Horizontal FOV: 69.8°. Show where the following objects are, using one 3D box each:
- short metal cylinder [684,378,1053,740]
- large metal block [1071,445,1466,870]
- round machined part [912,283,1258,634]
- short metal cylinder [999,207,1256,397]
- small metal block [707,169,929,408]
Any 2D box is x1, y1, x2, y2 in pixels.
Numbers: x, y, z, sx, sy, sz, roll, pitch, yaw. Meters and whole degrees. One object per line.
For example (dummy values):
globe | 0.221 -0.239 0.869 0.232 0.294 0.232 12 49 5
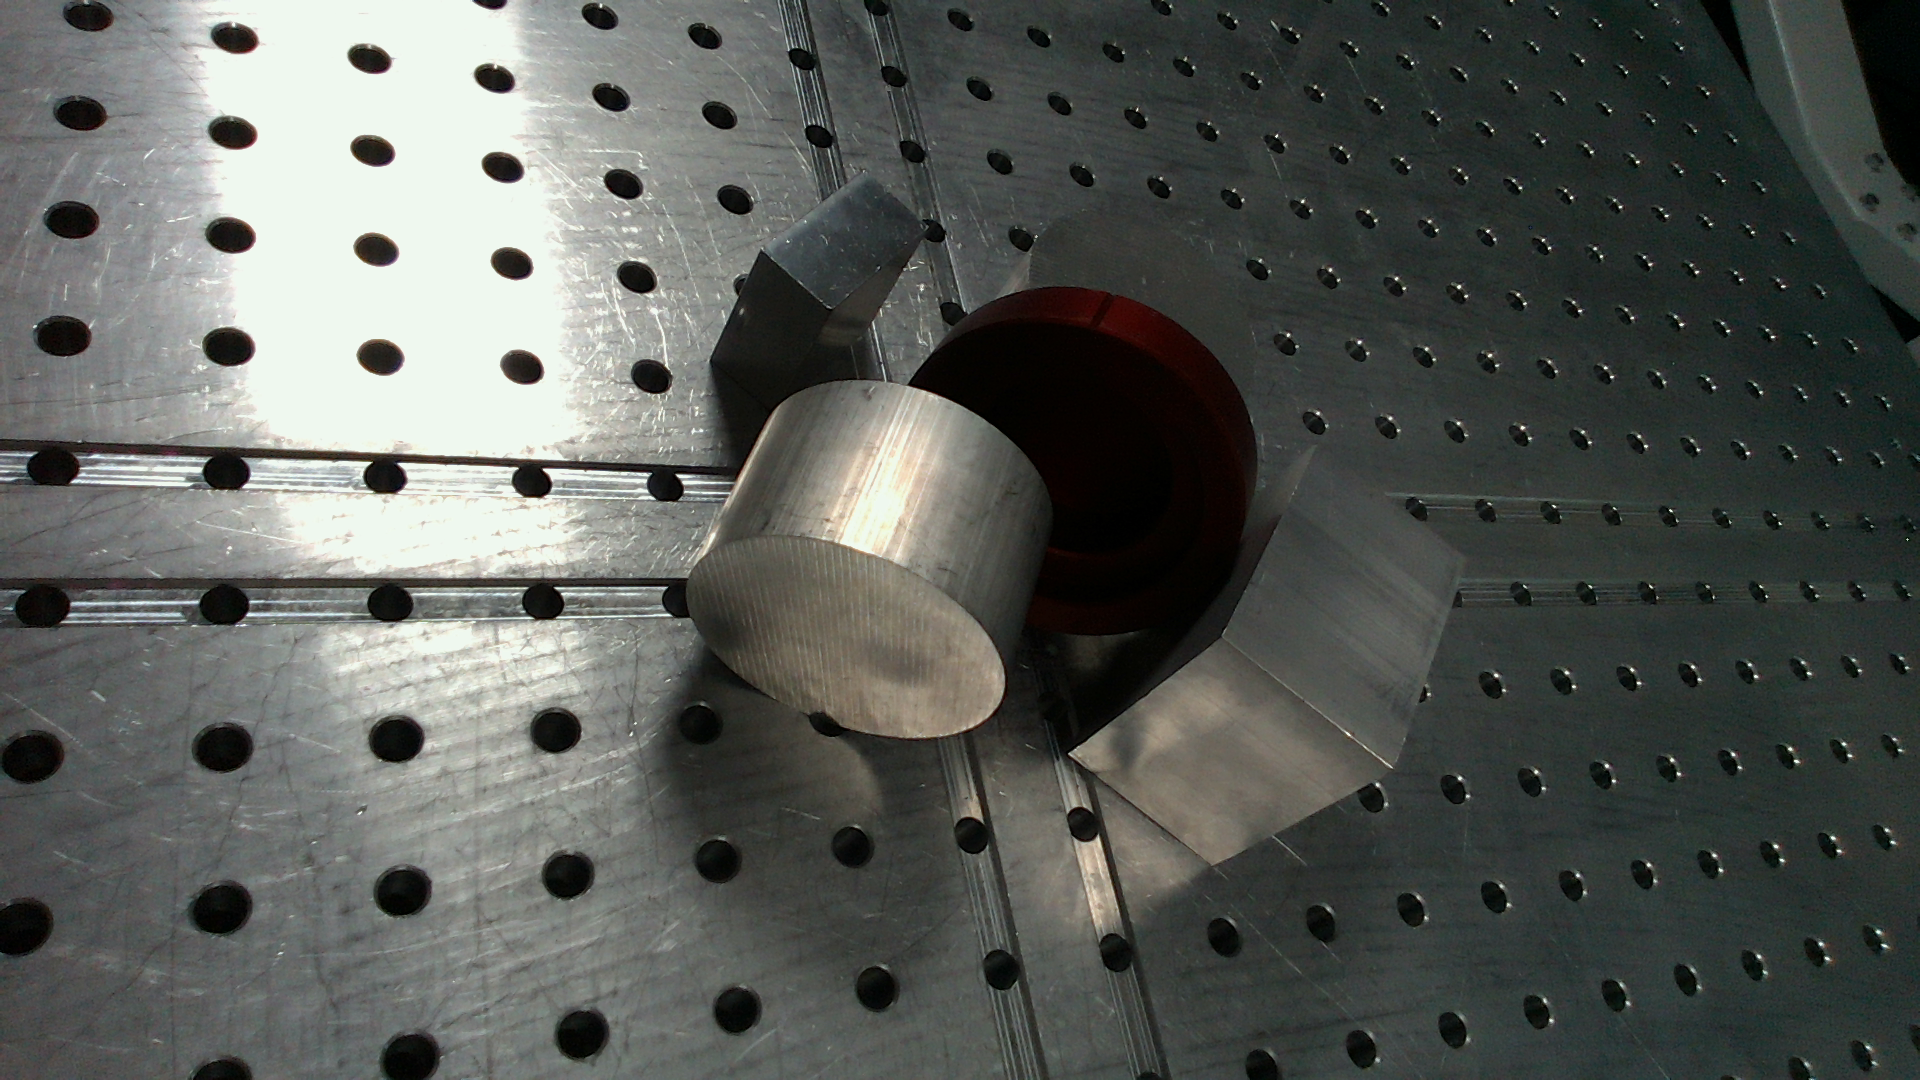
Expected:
short metal cylinder | -0.021 0.006 0.342 0.080 0.080 0.050 27 52 -11
large metal block | 0.085 0.034 0.383 0.050 0.080 0.080 37 51 -3
round machined part | 0.033 -0.025 0.380 0.098 0.098 0.042 35 39 -5
short metal cylinder | 0.046 -0.057 0.436 0.080 0.050 0.080 14 56 -21
small metal block | -0.041 -0.072 0.398 0.025 0.050 0.050 41 51 0
